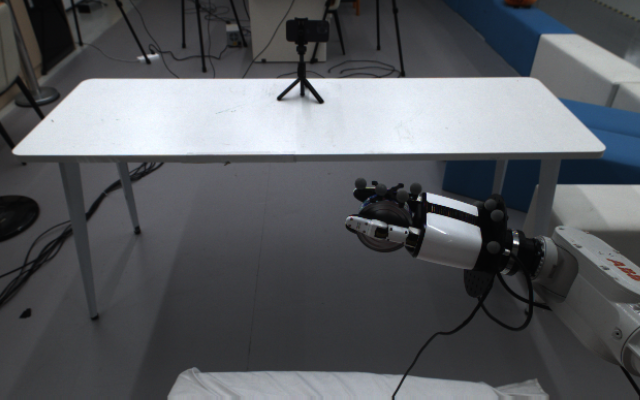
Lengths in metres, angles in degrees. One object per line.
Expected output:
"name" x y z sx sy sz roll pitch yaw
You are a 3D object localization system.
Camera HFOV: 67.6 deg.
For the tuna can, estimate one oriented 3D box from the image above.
"tuna can" 0.098 0.034 0.725 0.085 0.085 0.034 7 21 7
